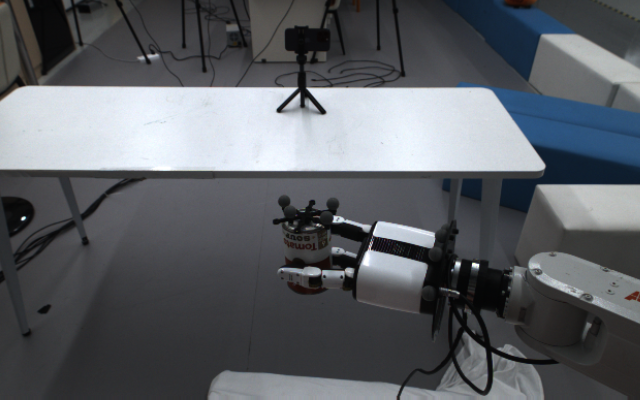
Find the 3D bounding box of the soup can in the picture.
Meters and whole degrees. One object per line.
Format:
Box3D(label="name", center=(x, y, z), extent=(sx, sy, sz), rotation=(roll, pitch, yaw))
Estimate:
Box3D(label="soup can", center=(-0.015, 0.070, 0.674), extent=(0.067, 0.101, 0.067), rotation=(-3, 27, 2))
